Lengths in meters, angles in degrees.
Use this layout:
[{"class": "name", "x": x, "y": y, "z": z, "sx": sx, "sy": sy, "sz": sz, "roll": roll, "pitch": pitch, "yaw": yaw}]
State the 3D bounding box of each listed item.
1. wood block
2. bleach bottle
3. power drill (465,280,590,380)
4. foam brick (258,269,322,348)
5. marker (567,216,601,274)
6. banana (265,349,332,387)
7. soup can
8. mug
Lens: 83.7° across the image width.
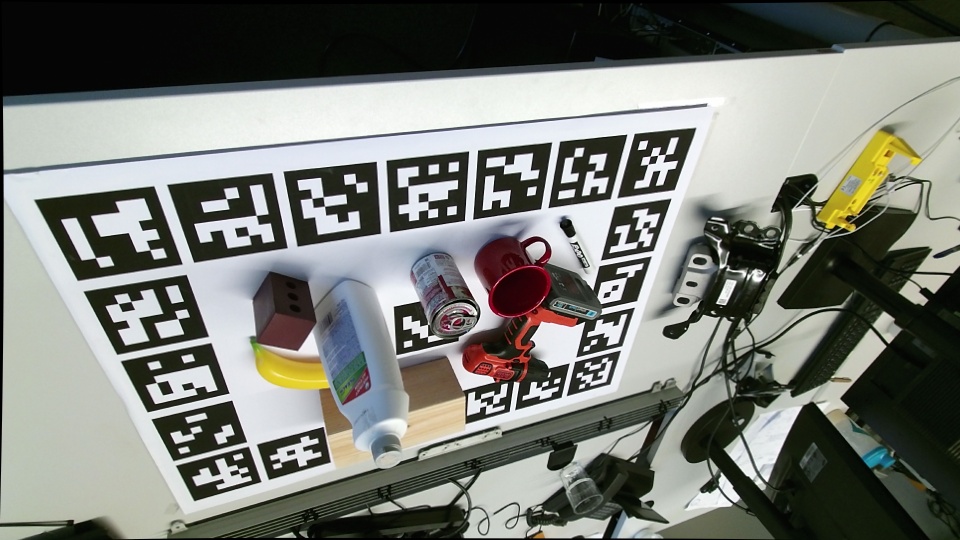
[{"class": "wood block", "x": -0.126, "y": 0.218, "z": 0.829, "sx": 0.207, "sy": 0.090, "sz": 0.090, "roll": -11, "pitch": 129, "yaw": -18}, {"class": "bleach bottle", "x": -0.128, "y": 0.120, "z": 0.638, "sx": 0.068, "sy": 0.249, "sz": 0.102, "roll": 17, "pitch": 118, "yaw": -36}, {"class": "power drill", "x": 0.091, "y": 0.102, "z": 0.869, "sx": 0.185, "sy": 0.057, "sz": 0.187, "roll": 18, "pitch": 117, "yaw": -32}, {"class": "foam brick", "x": -0.231, "y": 0.046, "z": 0.649, "sx": 0.053, "sy": 0.078, "sz": 0.051, "roll": 21, "pitch": 116, "yaw": -39}, {"class": "marker", "x": 0.158, "y": -0.038, "z": 0.812, "sx": 0.020, "sy": 0.019, "sz": 0.121, "roll": -35, "pitch": 132, "yaw": 0}, {"class": "banana", "x": -0.204, "y": 0.148, "z": 0.765, "sx": 0.198, "sy": 0.039, "sz": 0.074, "roll": 4, "pitch": 110, "yaw": -26}, {"class": "soup can", "x": -0.034, "y": 0.035, "z": 0.709, "sx": 0.068, "sy": 0.101, "sz": 0.068, "roll": -13, "pitch": 134, "yaw": -14}, {"class": "mug", "x": 0.062, "y": 0.004, "z": 0.752, "sx": 0.117, "sy": 0.081, "sz": 0.093, "roll": -47, "pitch": 129, "yaw": 10}]
